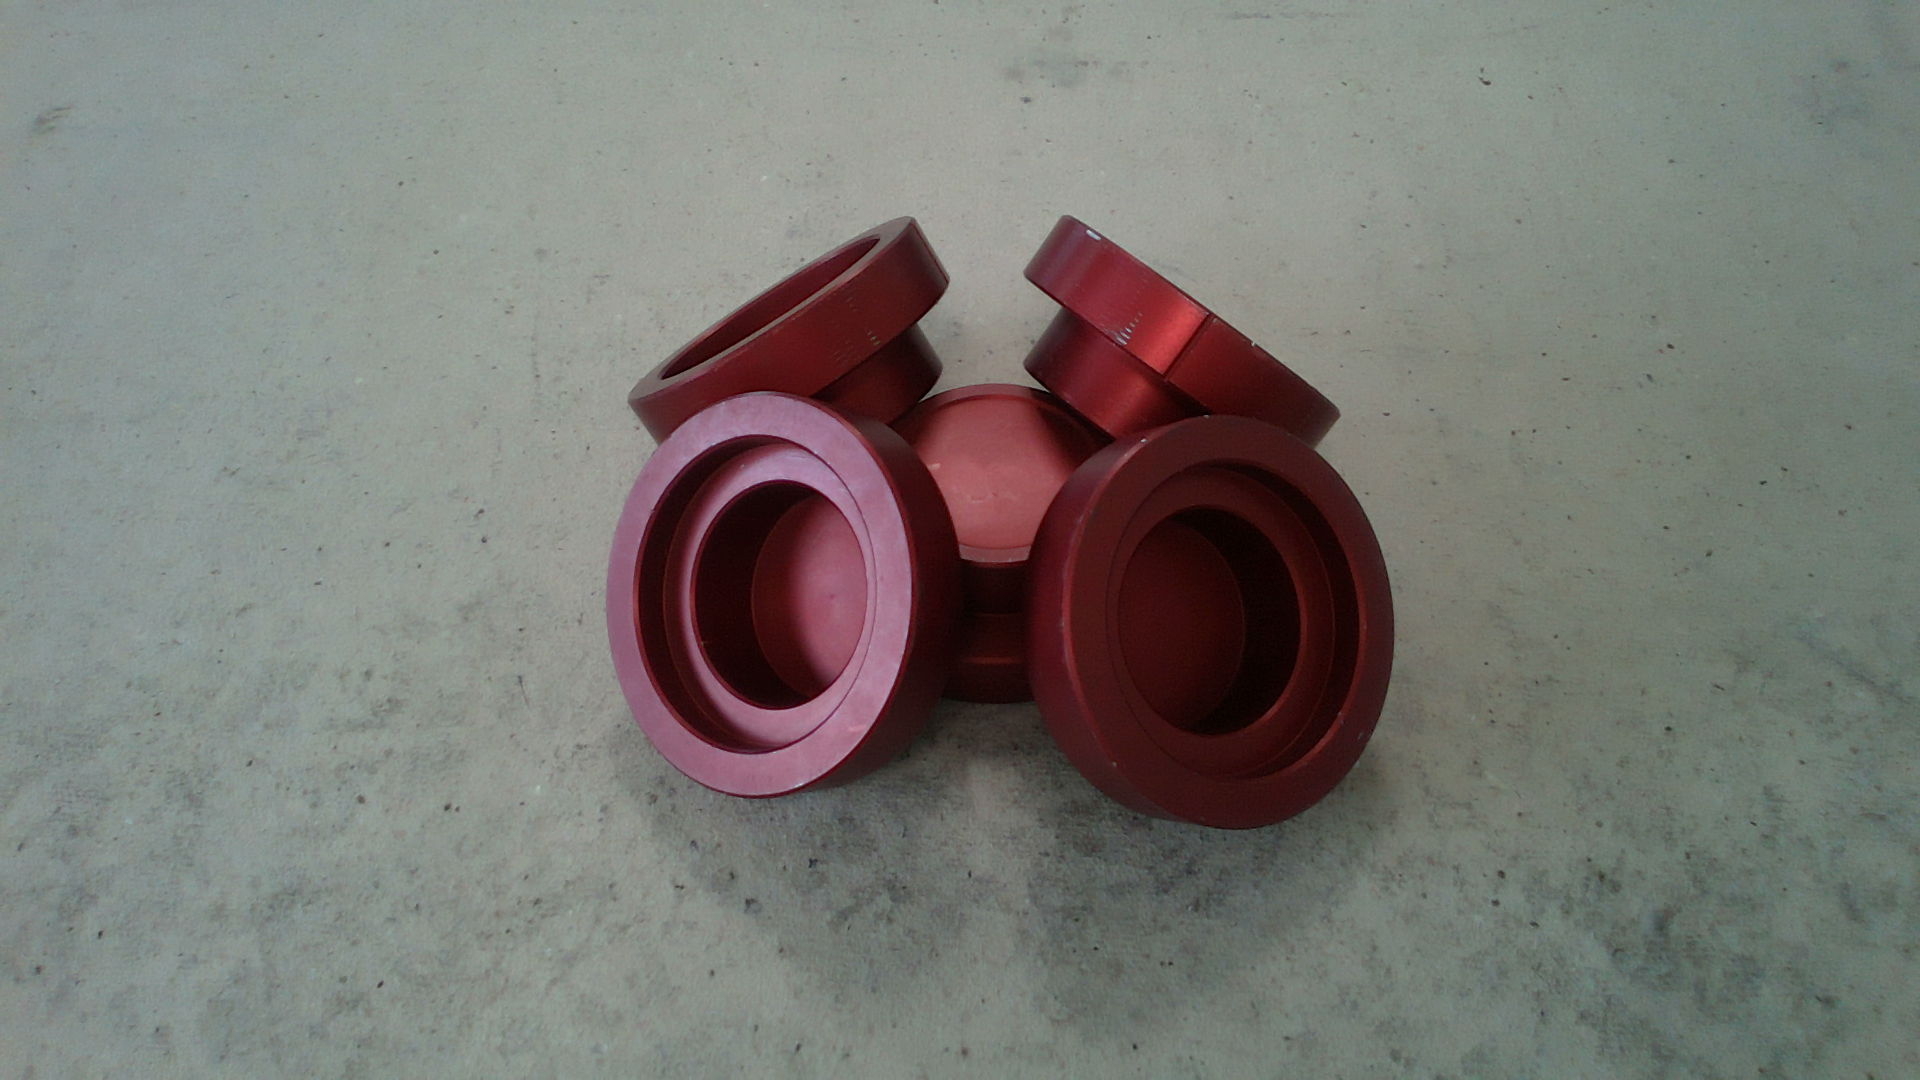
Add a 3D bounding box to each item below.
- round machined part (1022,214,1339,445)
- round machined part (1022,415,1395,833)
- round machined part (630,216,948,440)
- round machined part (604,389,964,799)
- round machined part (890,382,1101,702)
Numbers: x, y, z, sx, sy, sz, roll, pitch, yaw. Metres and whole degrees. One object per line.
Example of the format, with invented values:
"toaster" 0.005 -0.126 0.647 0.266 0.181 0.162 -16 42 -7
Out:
"round machined part" 0.057 -0.048 0.399 0.098 0.098 0.042 42 102 30
"round machined part" 0.057 0.021 0.342 0.098 0.042 0.098 3 83 -28
"round machined part" -0.045 -0.051 0.402 0.098 0.042 0.098 -29 18 11
"round machined part" -0.040 0.014 0.346 0.098 0.098 0.042 39 16 28
"round machined part" 0.010 -0.007 0.386 0.098 0.042 0.098 1 48 -1
